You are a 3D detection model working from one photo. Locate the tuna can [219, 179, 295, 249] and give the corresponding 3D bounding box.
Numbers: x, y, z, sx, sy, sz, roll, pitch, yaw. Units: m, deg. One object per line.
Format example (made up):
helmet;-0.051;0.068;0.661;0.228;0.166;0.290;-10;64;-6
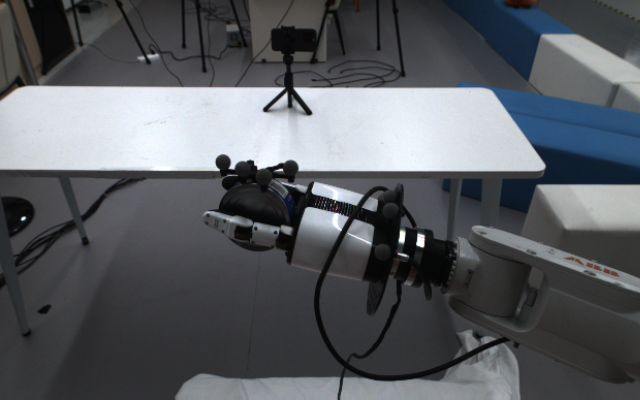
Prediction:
tuna can;-0.071;0.014;0.567;0.085;0.085;0.034;9;23;9
